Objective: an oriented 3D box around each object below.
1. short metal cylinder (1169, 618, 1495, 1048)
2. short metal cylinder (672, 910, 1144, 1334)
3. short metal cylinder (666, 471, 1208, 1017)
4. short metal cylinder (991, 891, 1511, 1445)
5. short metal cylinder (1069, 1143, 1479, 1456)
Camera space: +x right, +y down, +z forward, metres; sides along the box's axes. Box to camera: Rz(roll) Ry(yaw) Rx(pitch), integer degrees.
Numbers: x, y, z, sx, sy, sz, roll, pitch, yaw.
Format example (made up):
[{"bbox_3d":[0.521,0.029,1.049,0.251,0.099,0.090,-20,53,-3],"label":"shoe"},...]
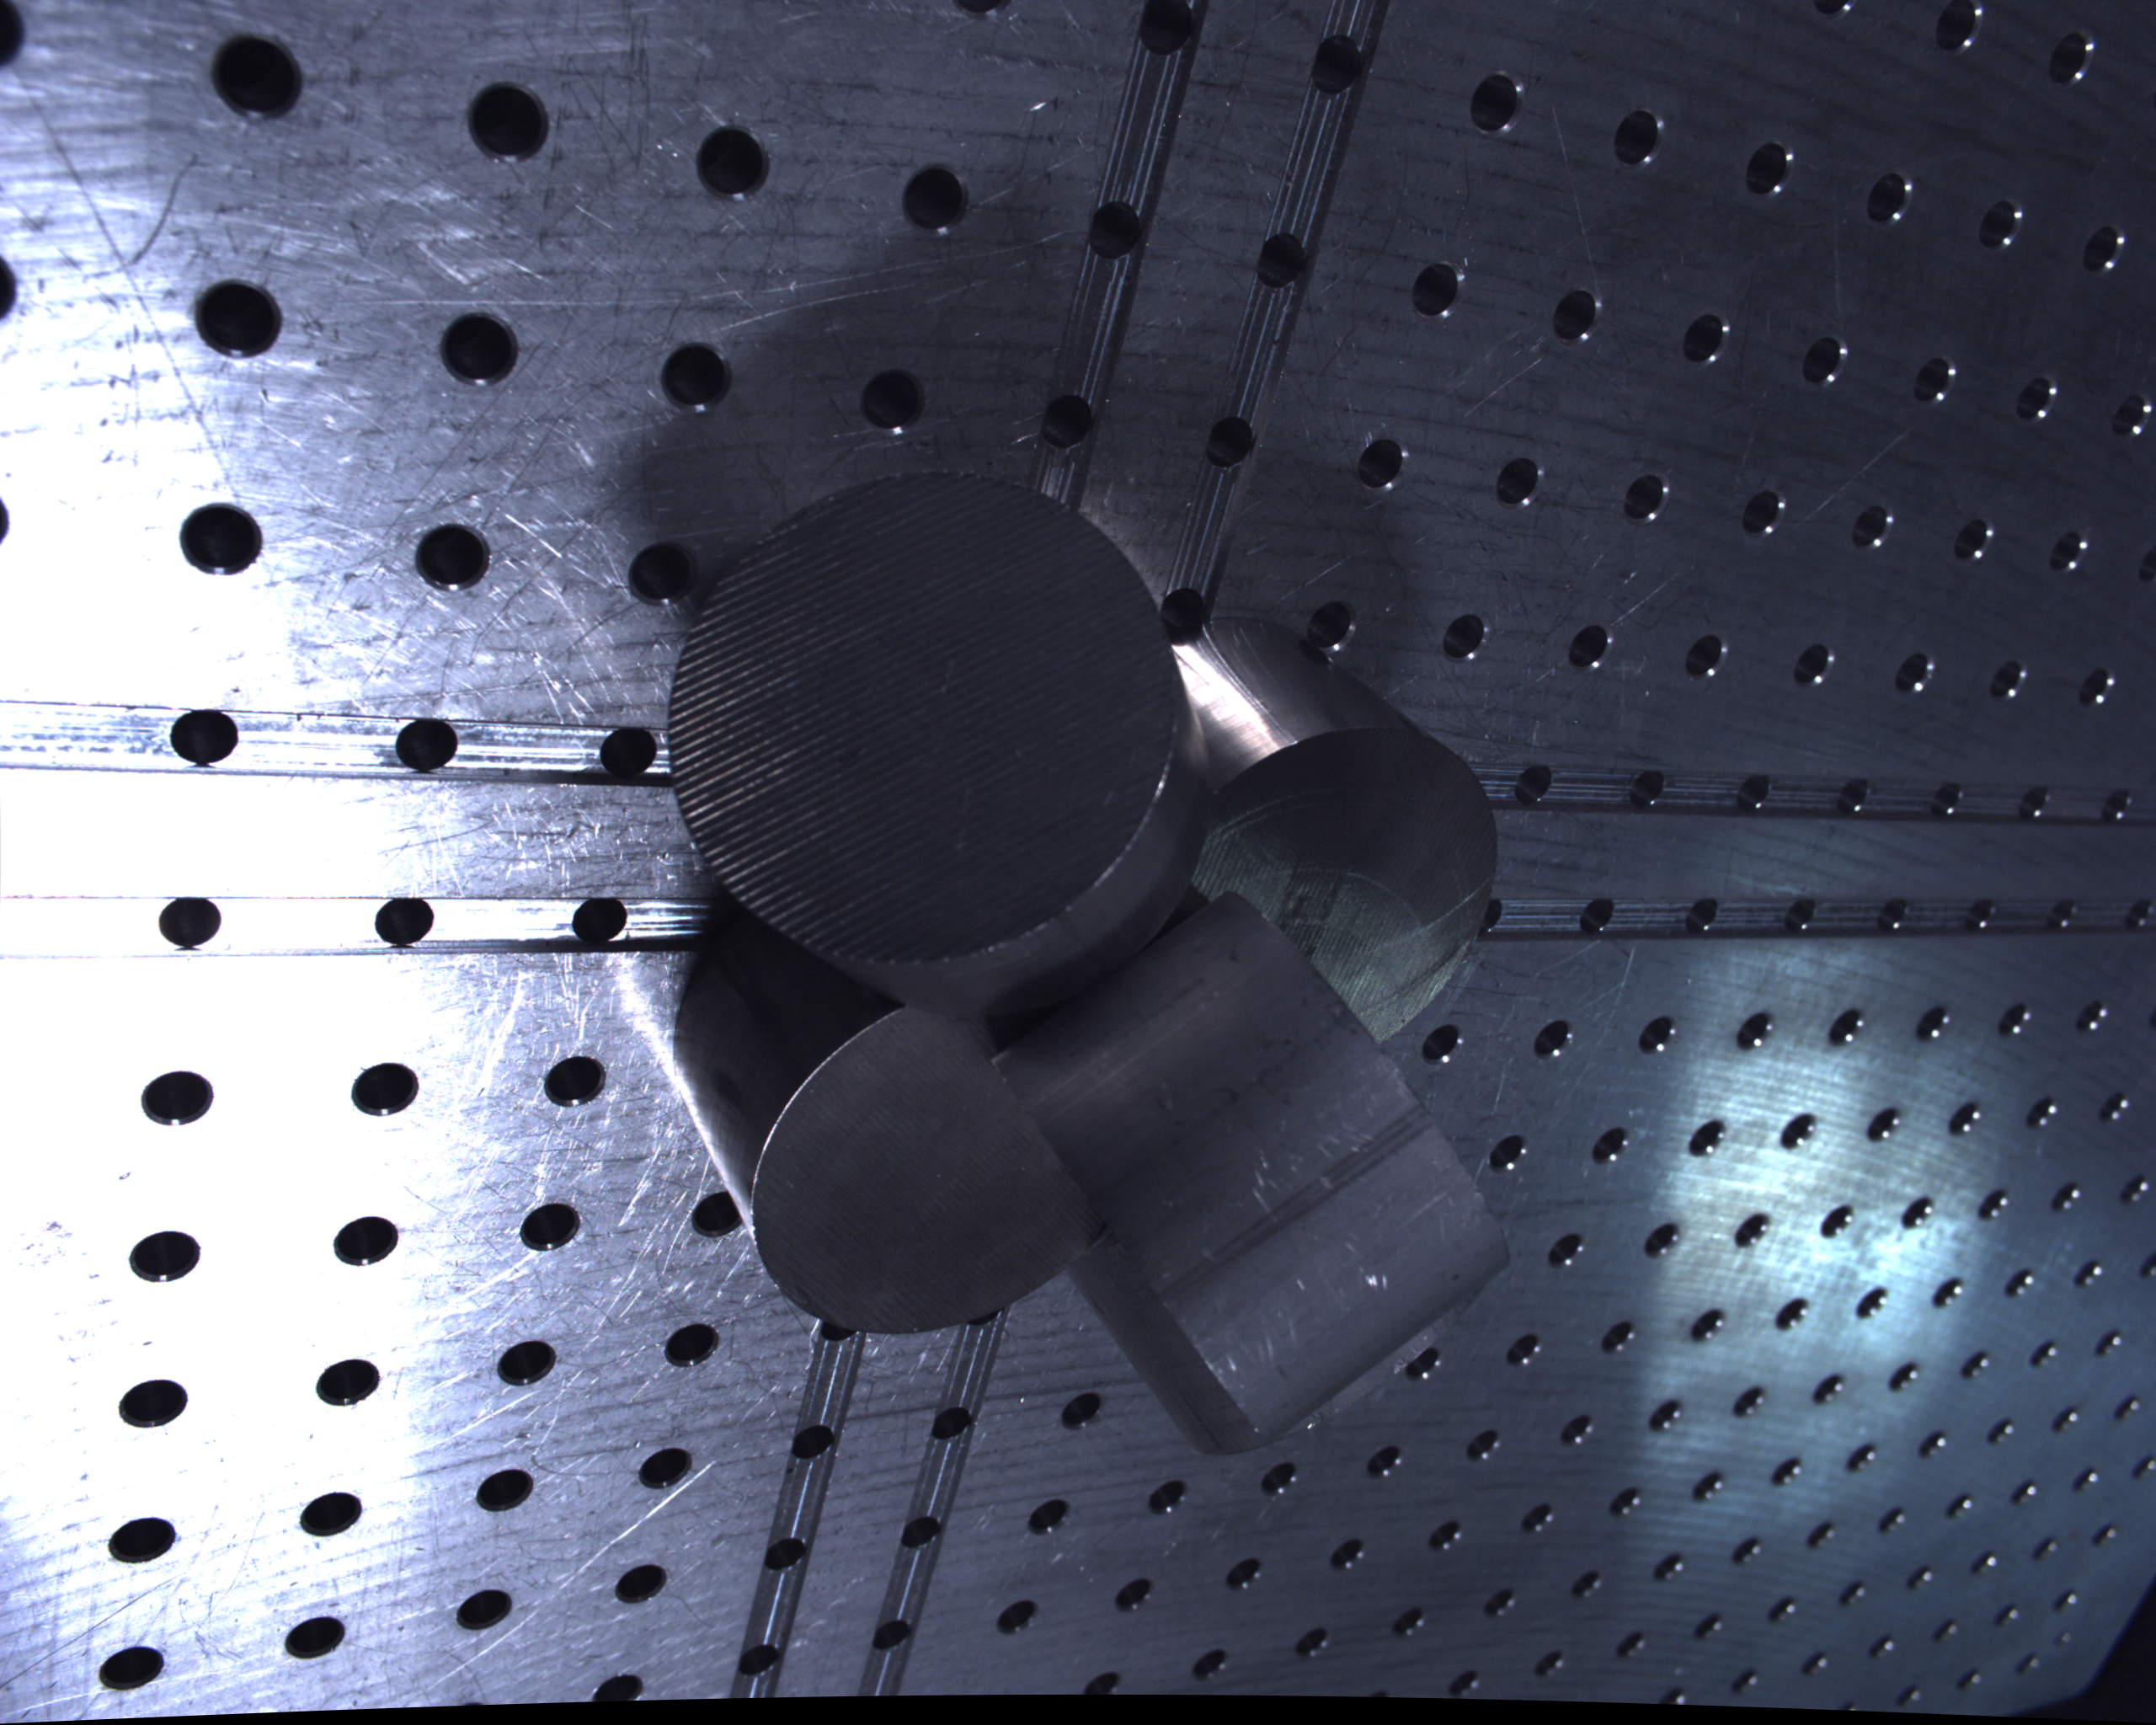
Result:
[{"bbox_3d":[0.034,-0.002,0.413,0.081,0.050,0.079,-14,125,-21],"label":"short metal cylinder"},{"bbox_3d":[-0.032,0.044,0.405,0.081,0.050,0.079,-14,125,-21],"label":"short metal cylinder"},{"bbox_3d":[-0.021,-0.018,0.345,0.080,0.080,0.050,-40,164,-2],"label":"short metal cylinder"},{"bbox_3d":[0.029,0.052,0.358,0.050,0.080,0.080,-36,129,-5],"label":"short metal cylinder"},{"bbox_3d":[0.041,0.079,0.439,0.080,0.080,0.050,-35,94,-5],"label":"short metal cylinder"}]
